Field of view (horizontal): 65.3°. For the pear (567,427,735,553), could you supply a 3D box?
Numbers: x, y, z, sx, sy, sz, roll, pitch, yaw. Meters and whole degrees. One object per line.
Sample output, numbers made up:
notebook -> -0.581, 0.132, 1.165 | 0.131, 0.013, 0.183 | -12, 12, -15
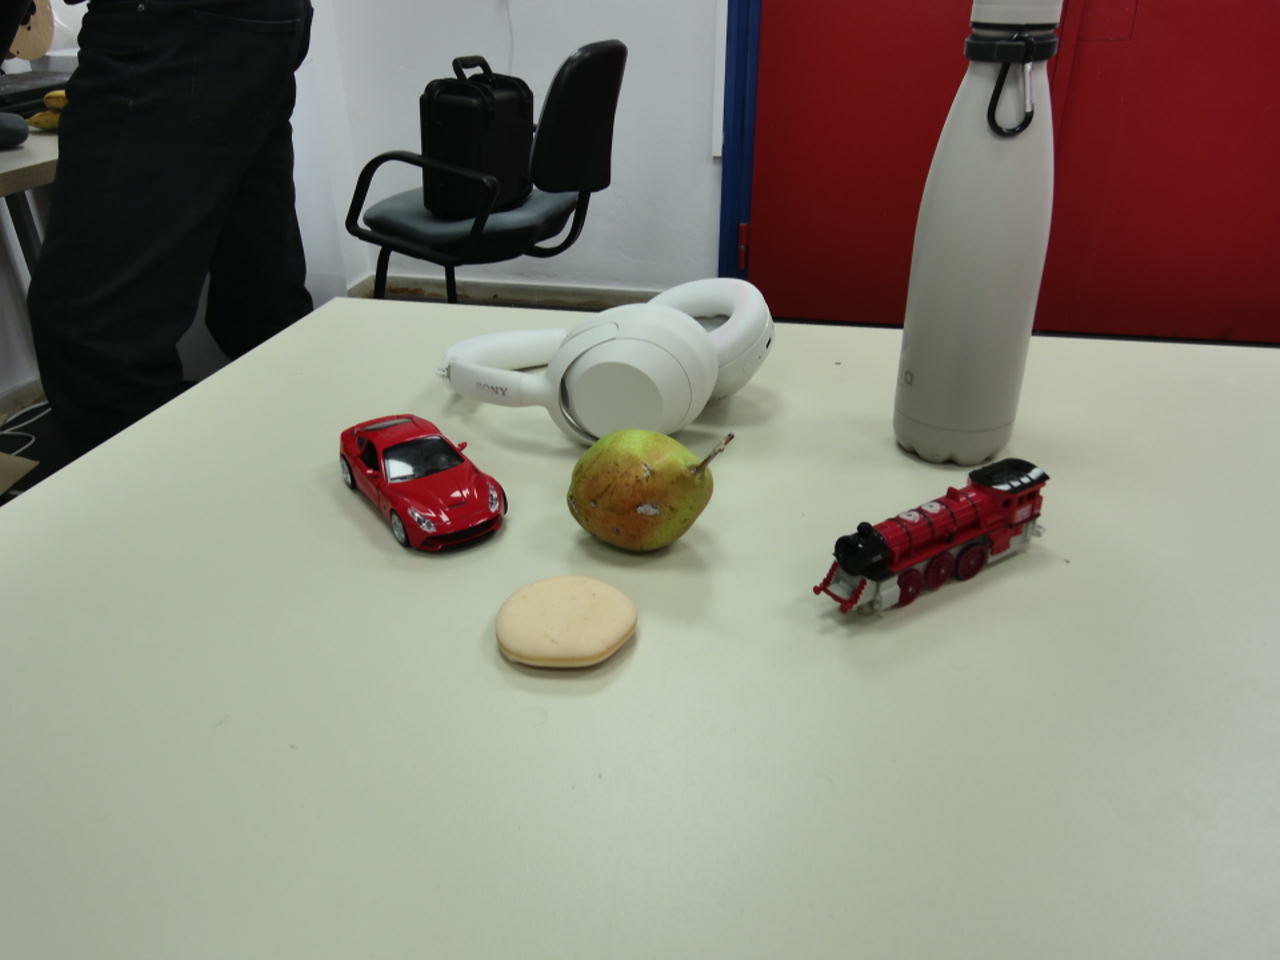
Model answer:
pear -> 0.000, 0.003, 0.511 | 0.068, 0.069, 0.070 | -13, 28, -24
